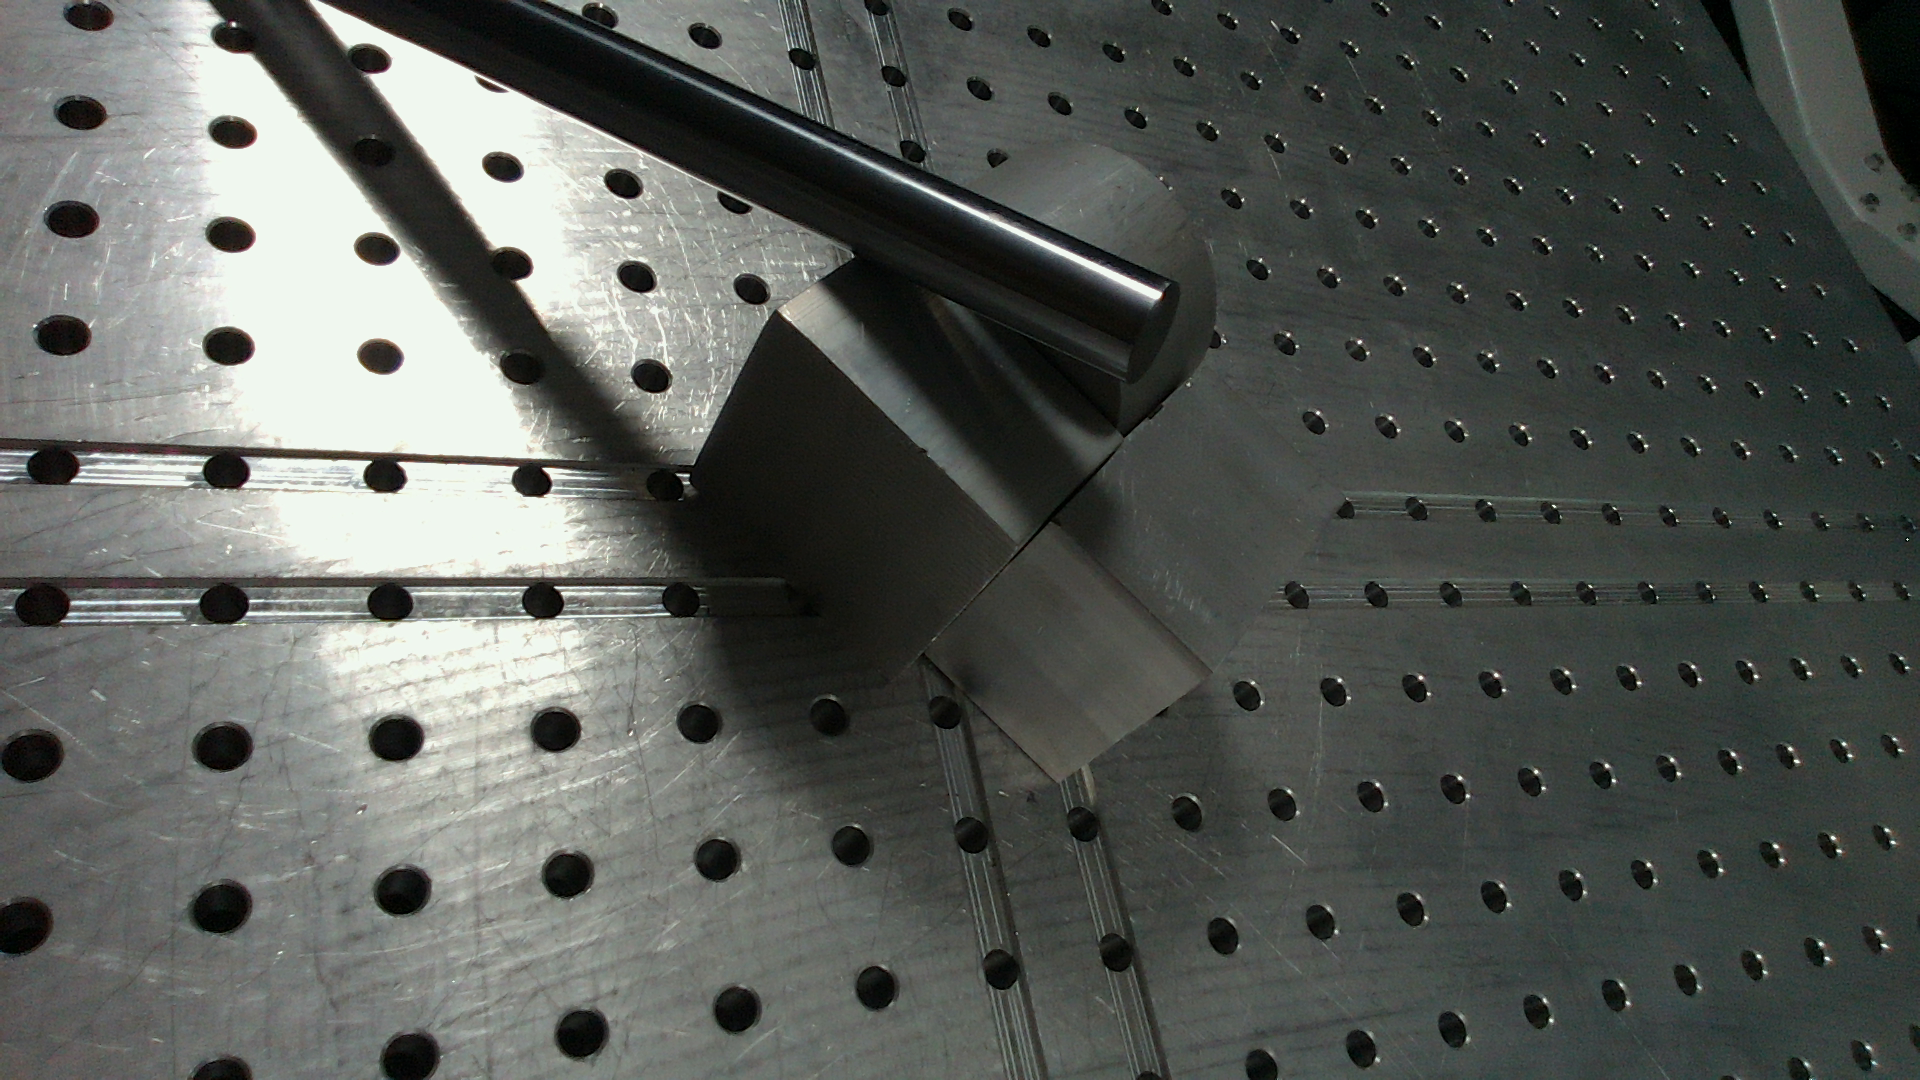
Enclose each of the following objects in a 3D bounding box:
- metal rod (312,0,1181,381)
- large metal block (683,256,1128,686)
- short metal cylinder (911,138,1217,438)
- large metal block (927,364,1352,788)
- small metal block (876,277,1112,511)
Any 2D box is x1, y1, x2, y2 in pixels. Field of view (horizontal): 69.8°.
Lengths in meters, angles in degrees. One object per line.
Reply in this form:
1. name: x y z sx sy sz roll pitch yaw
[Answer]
1. metal rod: -0.084 -0.114 0.350 0.299 0.025 0.025 28 49 17
2. large metal block: -0.017 -0.020 0.362 0.080 0.080 0.050 44 51 3
3. short metal cylinder: 0.022 -0.061 0.374 0.080 0.080 0.050 45 51 3
4. large metal block: 0.048 0.011 0.374 0.050 0.080 0.080 44 51 3
5. small metal block: 0.011 -0.046 0.428 0.050 0.025 0.050 41 51 0
